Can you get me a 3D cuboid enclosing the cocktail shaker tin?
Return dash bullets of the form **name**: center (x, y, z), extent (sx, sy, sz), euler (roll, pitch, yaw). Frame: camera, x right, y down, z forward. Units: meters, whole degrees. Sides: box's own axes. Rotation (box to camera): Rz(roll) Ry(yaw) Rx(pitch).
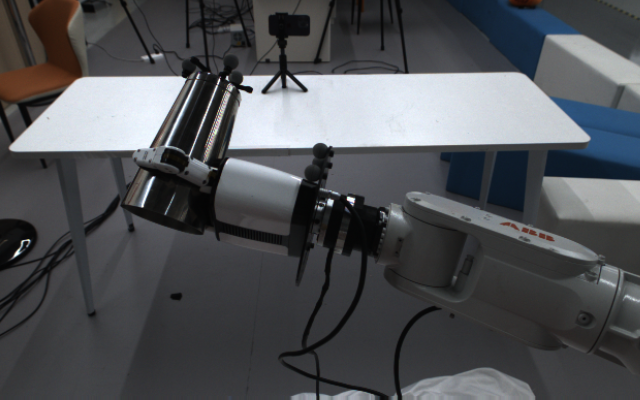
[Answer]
- **cocktail shaker tin**: center (-0.148, -0.055, 0.549), extent (0.093, 0.093, 0.170), euler (13, 73, 15)
